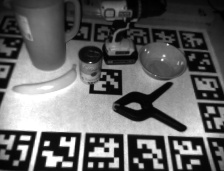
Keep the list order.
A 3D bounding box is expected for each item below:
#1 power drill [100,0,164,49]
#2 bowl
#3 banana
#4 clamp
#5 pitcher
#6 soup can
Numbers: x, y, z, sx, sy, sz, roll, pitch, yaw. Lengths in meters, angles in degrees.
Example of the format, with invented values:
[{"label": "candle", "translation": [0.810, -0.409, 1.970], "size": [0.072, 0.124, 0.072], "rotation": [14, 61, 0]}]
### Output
[{"label": "power drill", "translation": [0.051, -0.195, 0.671], "size": [0.185, 0.187, 0.057], "rotation": [-1, 56, -8]}, {"label": "bowl", "translation": [0.154, -0.095, 0.718], "size": [0.162, 0.055, 0.161], "rotation": [3, 57, -4]}, {"label": "banana", "translation": [-0.198, -0.032, 0.647], "size": [0.199, 0.039, 0.073], "rotation": [-18, 52, -20]}, {"label": "clamp", "translation": [0.093, 0.034, 0.627], "size": [0.203, 0.037, 0.164], "rotation": [1, 60, -6]}, {"label": "pitcher", "translation": [-0.186, -0.183, 0.624], "size": [0.190, 0.243, 0.132], "rotation": [-18, 56, -17]}, {"label": "soup can", "translation": [-0.071, -0.086, 0.658], "size": [0.068, 0.102, 0.067], "rotation": [3, 47, -3]}]
